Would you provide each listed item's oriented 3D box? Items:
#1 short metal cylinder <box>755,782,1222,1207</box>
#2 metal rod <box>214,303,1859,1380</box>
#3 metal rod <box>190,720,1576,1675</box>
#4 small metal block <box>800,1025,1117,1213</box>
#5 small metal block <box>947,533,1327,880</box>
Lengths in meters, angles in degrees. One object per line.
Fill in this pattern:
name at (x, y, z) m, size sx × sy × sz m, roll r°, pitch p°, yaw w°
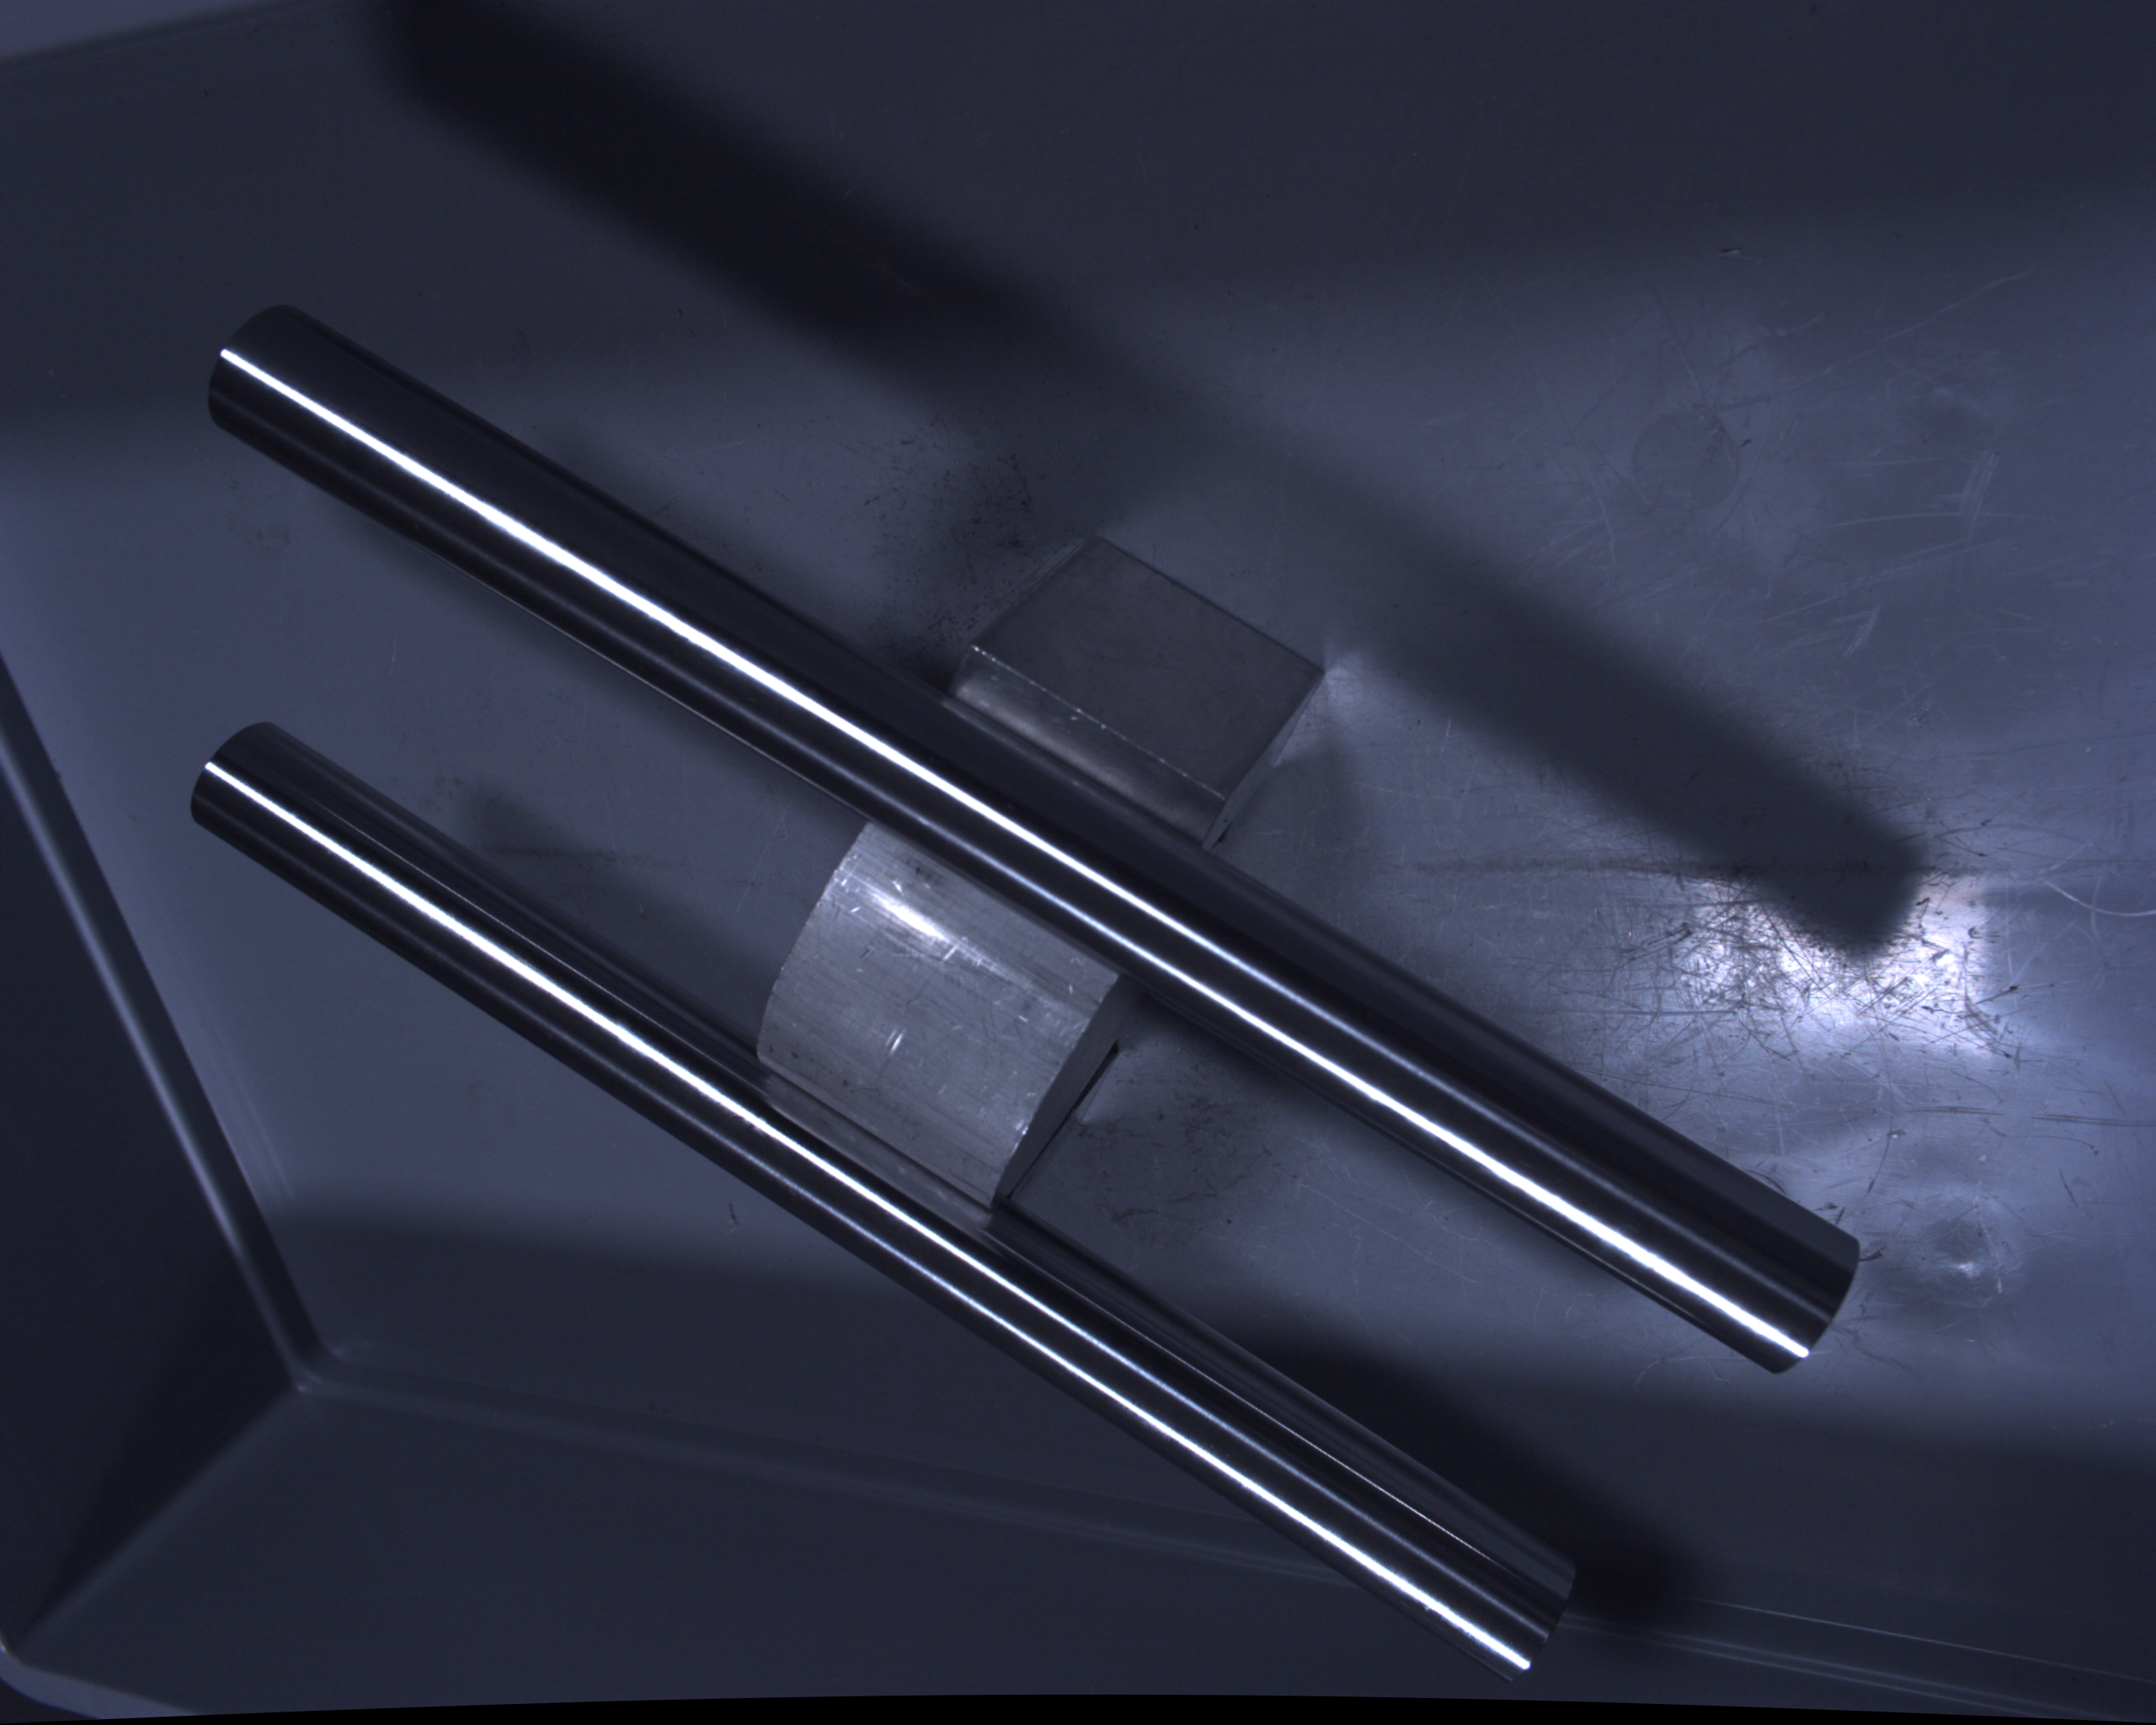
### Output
short metal cylinder at (-0.016, 0.017, 0.389) m, size 0.050 × 0.080 × 0.079 m, roll 32°, pitch 128°, yaw 7°
metal rod at (-0.013, -0.008, 0.343) m, size 0.301 × 0.025 × 0.025 m, roll 31°, pitch 128°, yaw 7°
metal rod at (-0.043, 0.060, 0.402) m, size 0.301 × 0.025 × 0.025 m, roll 31°, pitch 128°, yaw 7°
small metal block at (-0.028, 0.048, 0.433) m, size 0.050 × 0.050 × 0.025 m, roll 32°, pitch 128°, yaw 7°
small metal block at (0.009, -0.027, 0.368) m, size 0.050 × 0.050 × 0.025 m, roll 32°, pitch 128°, yaw 7°
